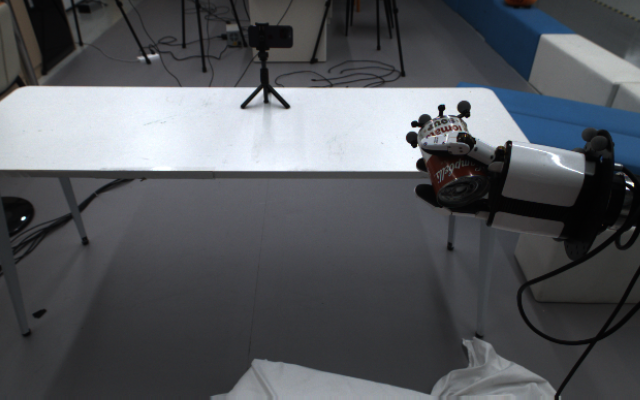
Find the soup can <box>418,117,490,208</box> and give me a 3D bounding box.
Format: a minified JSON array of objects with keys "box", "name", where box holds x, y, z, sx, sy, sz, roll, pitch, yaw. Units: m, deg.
[{"box":[0.172,-0.052,0.627,0.067,0.067,0.101,-5,57,-10],"name":"soup can"}]
